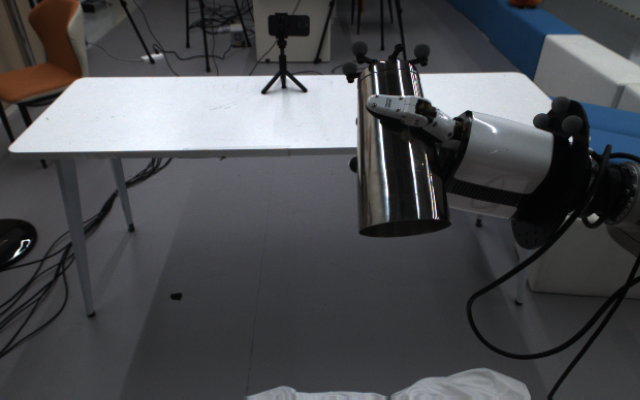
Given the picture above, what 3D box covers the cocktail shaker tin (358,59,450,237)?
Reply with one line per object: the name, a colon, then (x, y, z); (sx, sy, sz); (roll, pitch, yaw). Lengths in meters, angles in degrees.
cocktail shaker tin: (0.081, -0.053, 0.504); (0.093, 0.093, 0.170); (-3, 77, -8)
